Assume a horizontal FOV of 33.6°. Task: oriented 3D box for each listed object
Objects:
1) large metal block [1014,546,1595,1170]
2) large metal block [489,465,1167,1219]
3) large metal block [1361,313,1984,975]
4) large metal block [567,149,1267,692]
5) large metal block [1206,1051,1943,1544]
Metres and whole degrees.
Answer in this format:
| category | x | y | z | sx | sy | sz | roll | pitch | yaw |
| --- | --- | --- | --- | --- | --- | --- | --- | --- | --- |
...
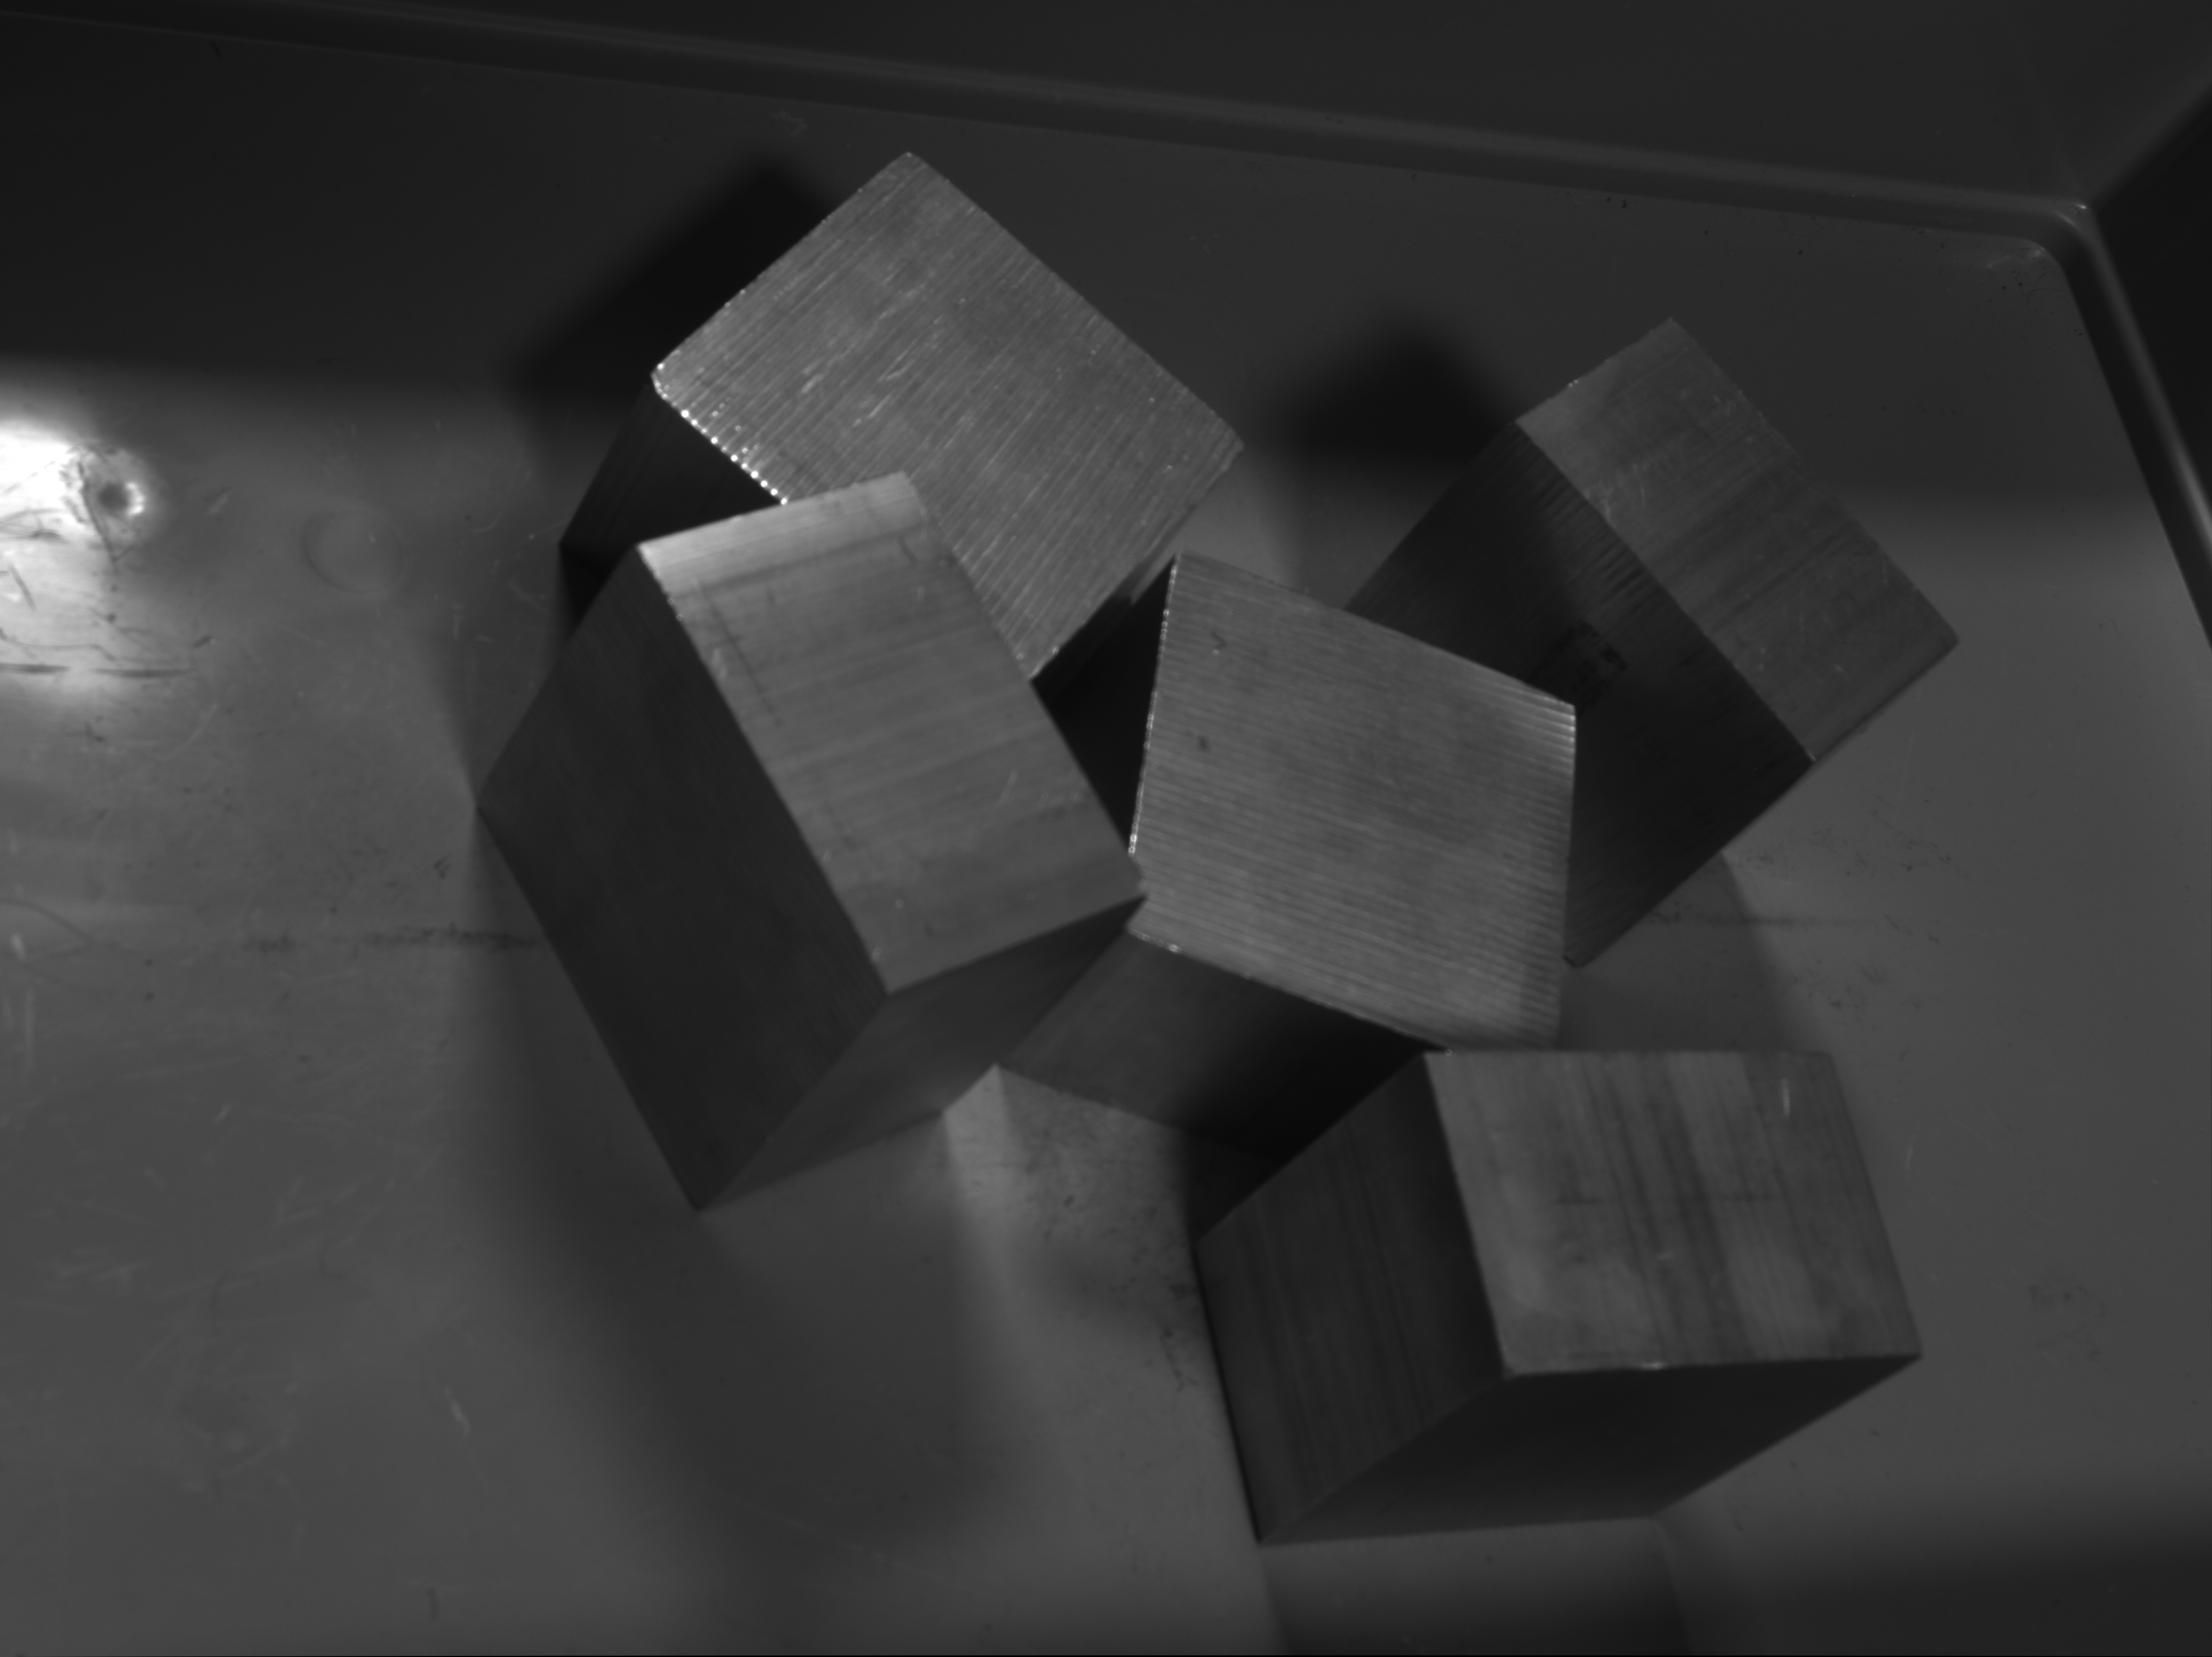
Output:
| category | x | y | z | sx | sy | sz | roll | pitch | yaw |
| --- | --- | --- | --- | --- | --- | --- | --- | --- | --- |
| large metal block | 0.035 | 0.009 | 0.636 | 0.080 | 0.050 | 0.080 | 21 | 54 | -16 |
| large metal block | -0.046 | 0.003 | 0.577 | 0.050 | 0.080 | 0.080 | -20 | 72 | -35 |
| large metal block | 0.099 | -0.033 | 0.676 | 0.080 | 0.080 | 0.050 | 50 | 51 | 7 |
| large metal block | -0.033 | -0.058 | 0.640 | 0.080 | 0.050 | 0.080 | 41 | 51 | 0 |
| large metal block | 0.074 | 0.077 | 0.597 | 0.080 | 0.080 | 0.050 | 1 | 61 | -28 |
